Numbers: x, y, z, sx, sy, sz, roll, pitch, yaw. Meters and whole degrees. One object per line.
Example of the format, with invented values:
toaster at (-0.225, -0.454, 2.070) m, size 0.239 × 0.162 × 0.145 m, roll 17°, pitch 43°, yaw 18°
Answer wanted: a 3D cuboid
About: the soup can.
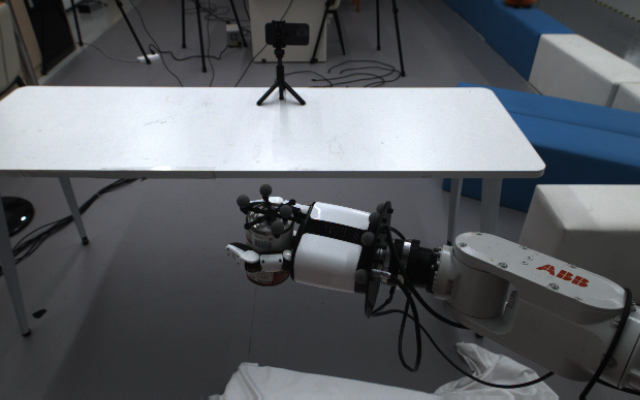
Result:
soup can at (-0.072, 0.065, 0.684) m, size 0.067 × 0.101 × 0.067 m, roll 5°, pitch 36°, yaw -4°
